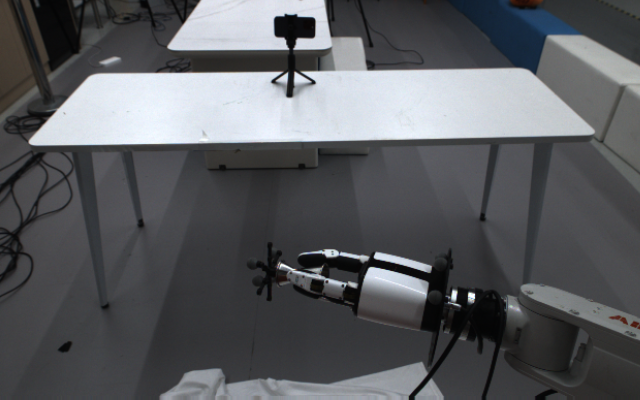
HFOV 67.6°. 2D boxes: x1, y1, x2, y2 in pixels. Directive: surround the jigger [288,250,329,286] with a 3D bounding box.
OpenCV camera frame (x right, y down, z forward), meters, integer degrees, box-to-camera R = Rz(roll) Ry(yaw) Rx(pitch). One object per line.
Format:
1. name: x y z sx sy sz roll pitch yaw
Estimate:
1. jigger: -0.017 0.104 0.697 0.071 0.043 0.043 3 34 17
